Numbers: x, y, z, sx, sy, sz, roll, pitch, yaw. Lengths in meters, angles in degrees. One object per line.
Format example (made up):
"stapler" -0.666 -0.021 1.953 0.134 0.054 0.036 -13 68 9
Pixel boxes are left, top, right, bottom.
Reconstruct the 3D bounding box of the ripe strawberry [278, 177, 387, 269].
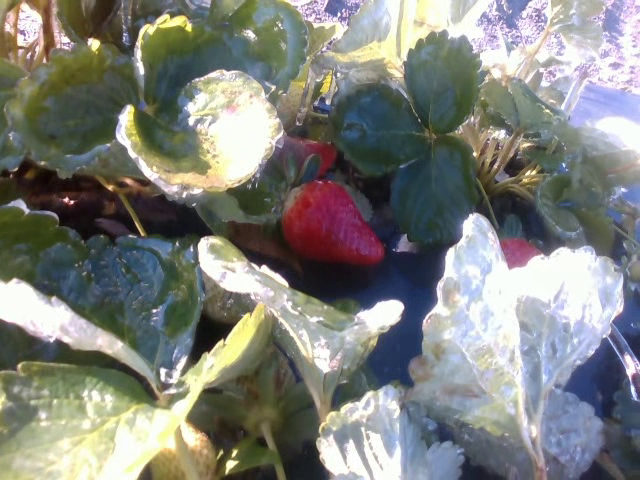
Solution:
"ripe strawberry" 0.011 -0.007 0.284 0.044 0.056 0.040 -53 4 -40
